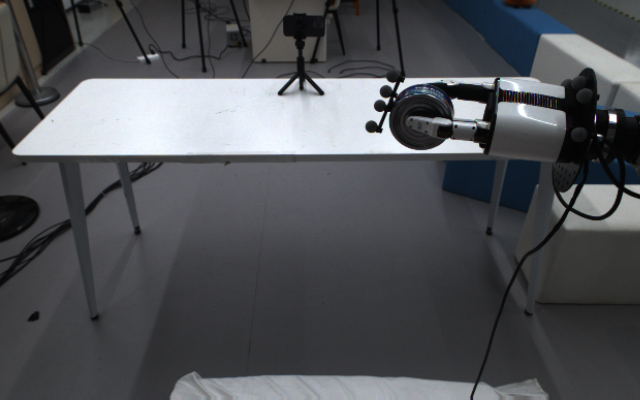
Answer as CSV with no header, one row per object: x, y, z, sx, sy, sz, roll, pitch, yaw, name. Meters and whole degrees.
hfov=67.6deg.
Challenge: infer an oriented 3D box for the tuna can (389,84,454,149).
0.140,-0.115,0.666,0.085,0.085,0.034,8,35,9,tuna can
